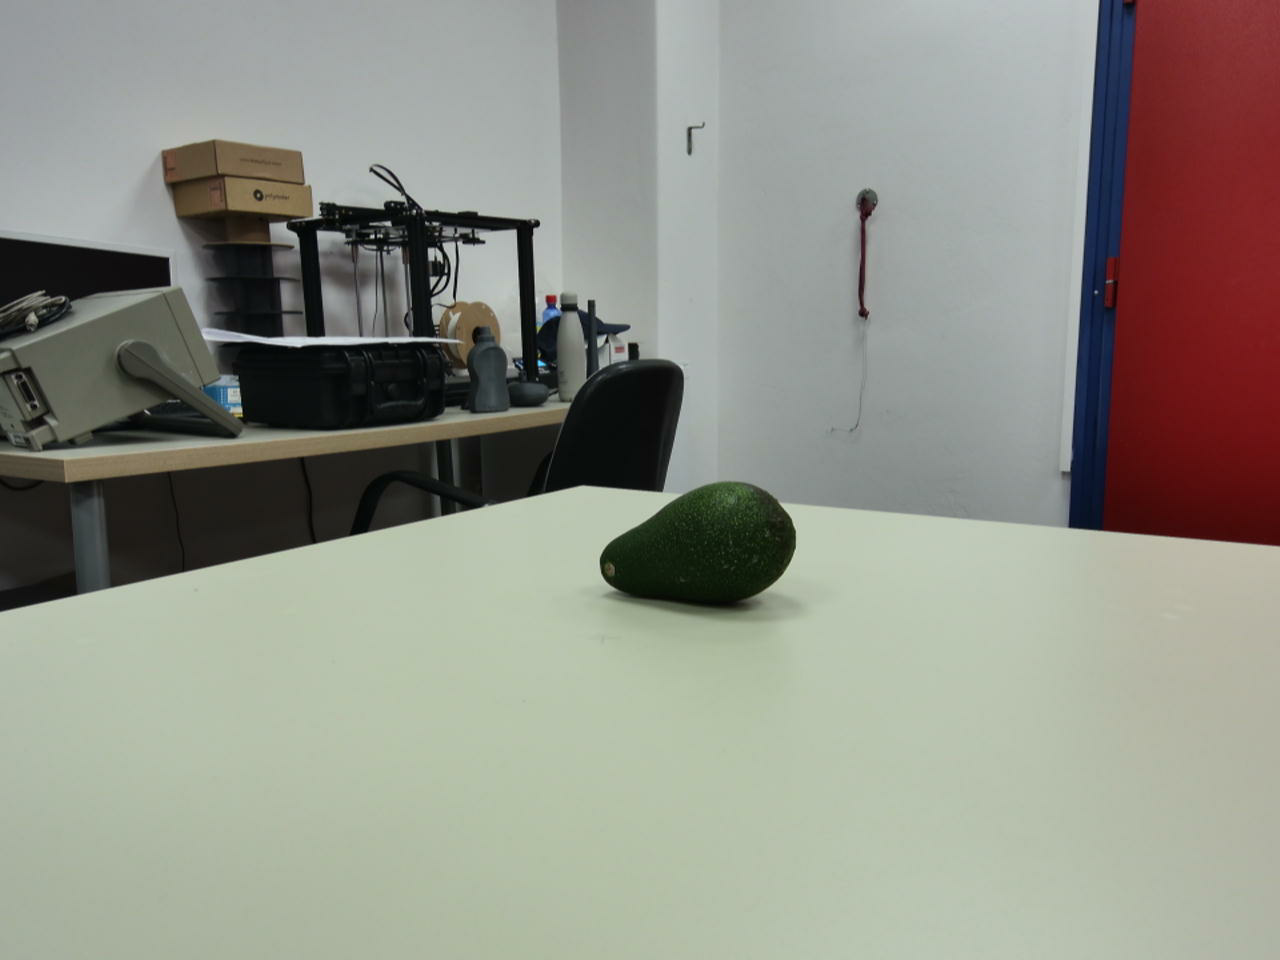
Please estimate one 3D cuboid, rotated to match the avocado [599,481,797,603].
[{"bbox_3d":[0.040,0.037,0.623,0.123,0.076,0.074,5,8,41],"label":"avocado"}]
